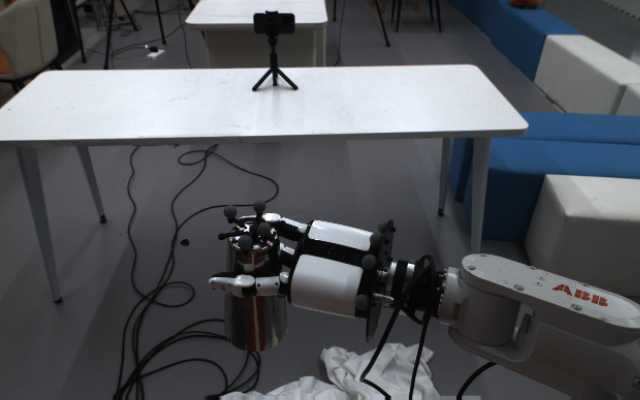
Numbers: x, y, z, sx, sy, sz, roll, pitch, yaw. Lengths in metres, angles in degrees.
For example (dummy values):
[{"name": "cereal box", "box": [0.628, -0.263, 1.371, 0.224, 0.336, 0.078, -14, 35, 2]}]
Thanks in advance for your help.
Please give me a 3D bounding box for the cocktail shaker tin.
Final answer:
[{"name": "cocktail shaker tin", "box": [-0.088, 0.113, 0.670, 0.093, 0.170, 0.093, 3, 33, -2]}]
